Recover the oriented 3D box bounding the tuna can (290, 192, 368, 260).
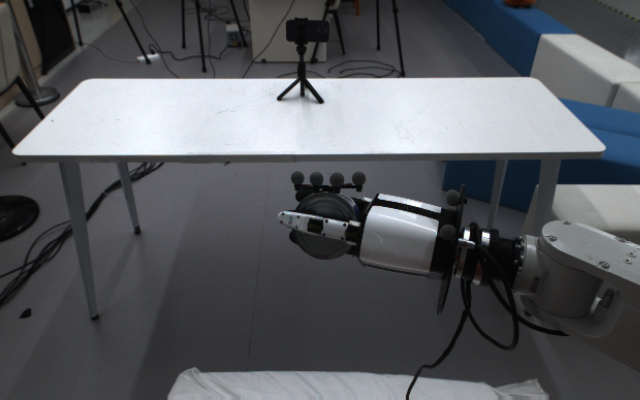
[{"bbox_3d":[0.013,0.035,0.611,0.085,0.085,0.034,12,8,14],"label":"tuna can"}]
